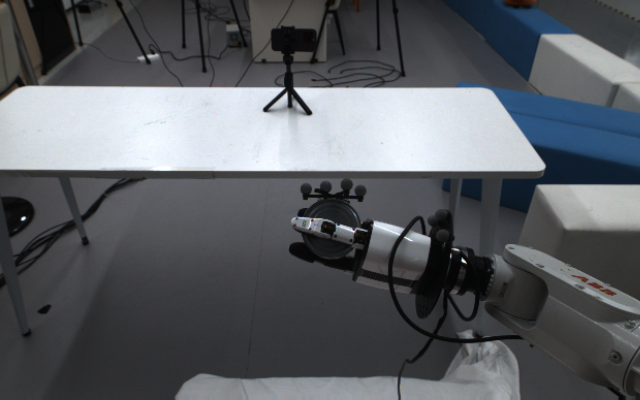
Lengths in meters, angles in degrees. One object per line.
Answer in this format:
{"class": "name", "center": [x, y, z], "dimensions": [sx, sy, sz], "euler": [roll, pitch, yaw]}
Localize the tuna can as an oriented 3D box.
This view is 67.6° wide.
{"class": "tuna can", "center": [0.017, 0.041, 0.695], "dimensions": [0.085, 0.034, 0.085], "euler": [-1, 76, 4]}
